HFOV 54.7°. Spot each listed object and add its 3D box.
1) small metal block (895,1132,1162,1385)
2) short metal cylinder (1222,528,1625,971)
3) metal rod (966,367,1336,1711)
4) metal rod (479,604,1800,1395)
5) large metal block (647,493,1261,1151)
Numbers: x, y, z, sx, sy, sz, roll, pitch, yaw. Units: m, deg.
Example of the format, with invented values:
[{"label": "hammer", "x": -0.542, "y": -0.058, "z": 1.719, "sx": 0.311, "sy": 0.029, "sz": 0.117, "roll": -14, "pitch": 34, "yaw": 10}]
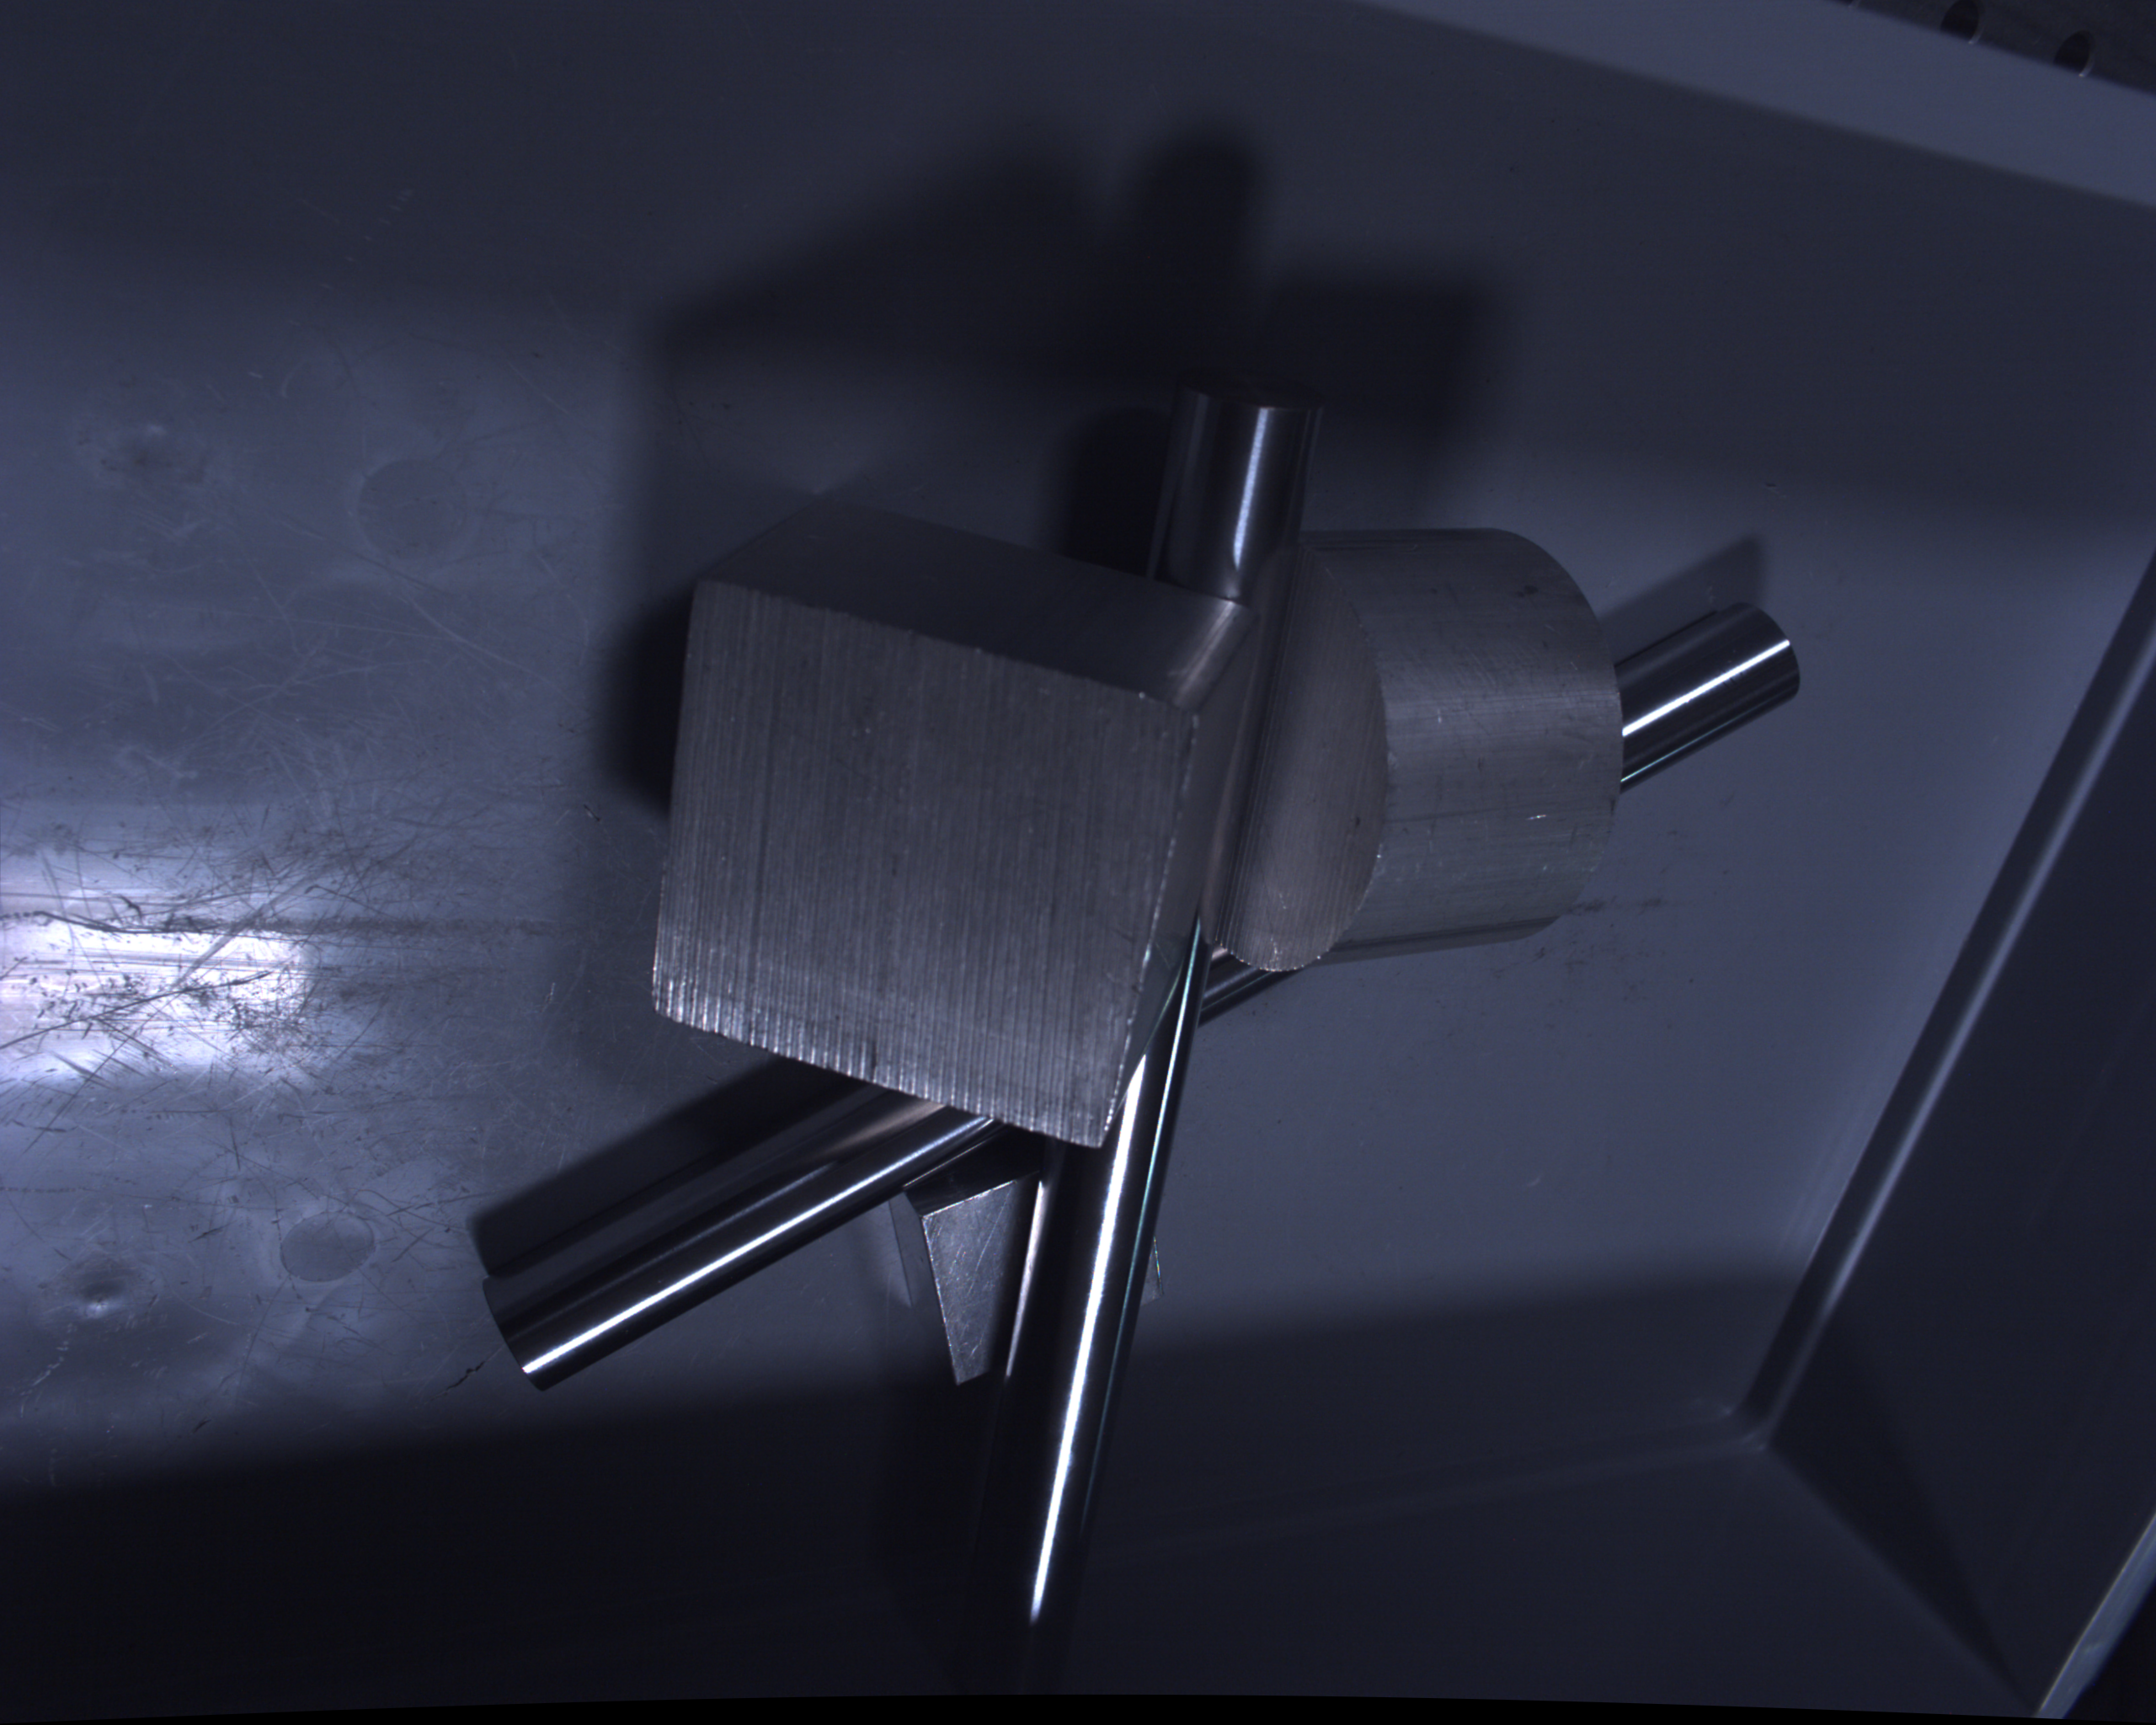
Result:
[{"label": "small metal block", "x": -0.012, "y": 0.078, "z": 0.450, "sx": 0.050, "sy": 0.025, "sz": 0.050, "roll": -20, "pitch": 126, "yaw": -17}, {"label": "short metal cylinder", "x": 0.055, "y": -0.022, "z": 0.388, "sx": 0.050, "sy": 0.080, "sz": 0.079, "roll": -5, "pitch": 121, "yaw": -28}, {"label": "metal rod", "x": 0.009, "y": 0.053, "z": 0.412, "sx": 0.025, "sy": 0.025, "sz": 0.298, "roll": -5, "pitch": 120, "yaw": -27}, {"label": "metal rod", "x": 0.021, "y": 0.023, "z": 0.433, "sx": 0.302, "sy": 0.025, "sz": 0.025, "roll": -28, "pitch": 128, "yaw": -11}, {"label": "large metal block", "x": -0.021, "y": -0.008, "z": 0.350, "sx": 0.080, "sy": 0.050, "sz": 0.079, "roll": 16, "pitch": 117, "yaw": 9}]
